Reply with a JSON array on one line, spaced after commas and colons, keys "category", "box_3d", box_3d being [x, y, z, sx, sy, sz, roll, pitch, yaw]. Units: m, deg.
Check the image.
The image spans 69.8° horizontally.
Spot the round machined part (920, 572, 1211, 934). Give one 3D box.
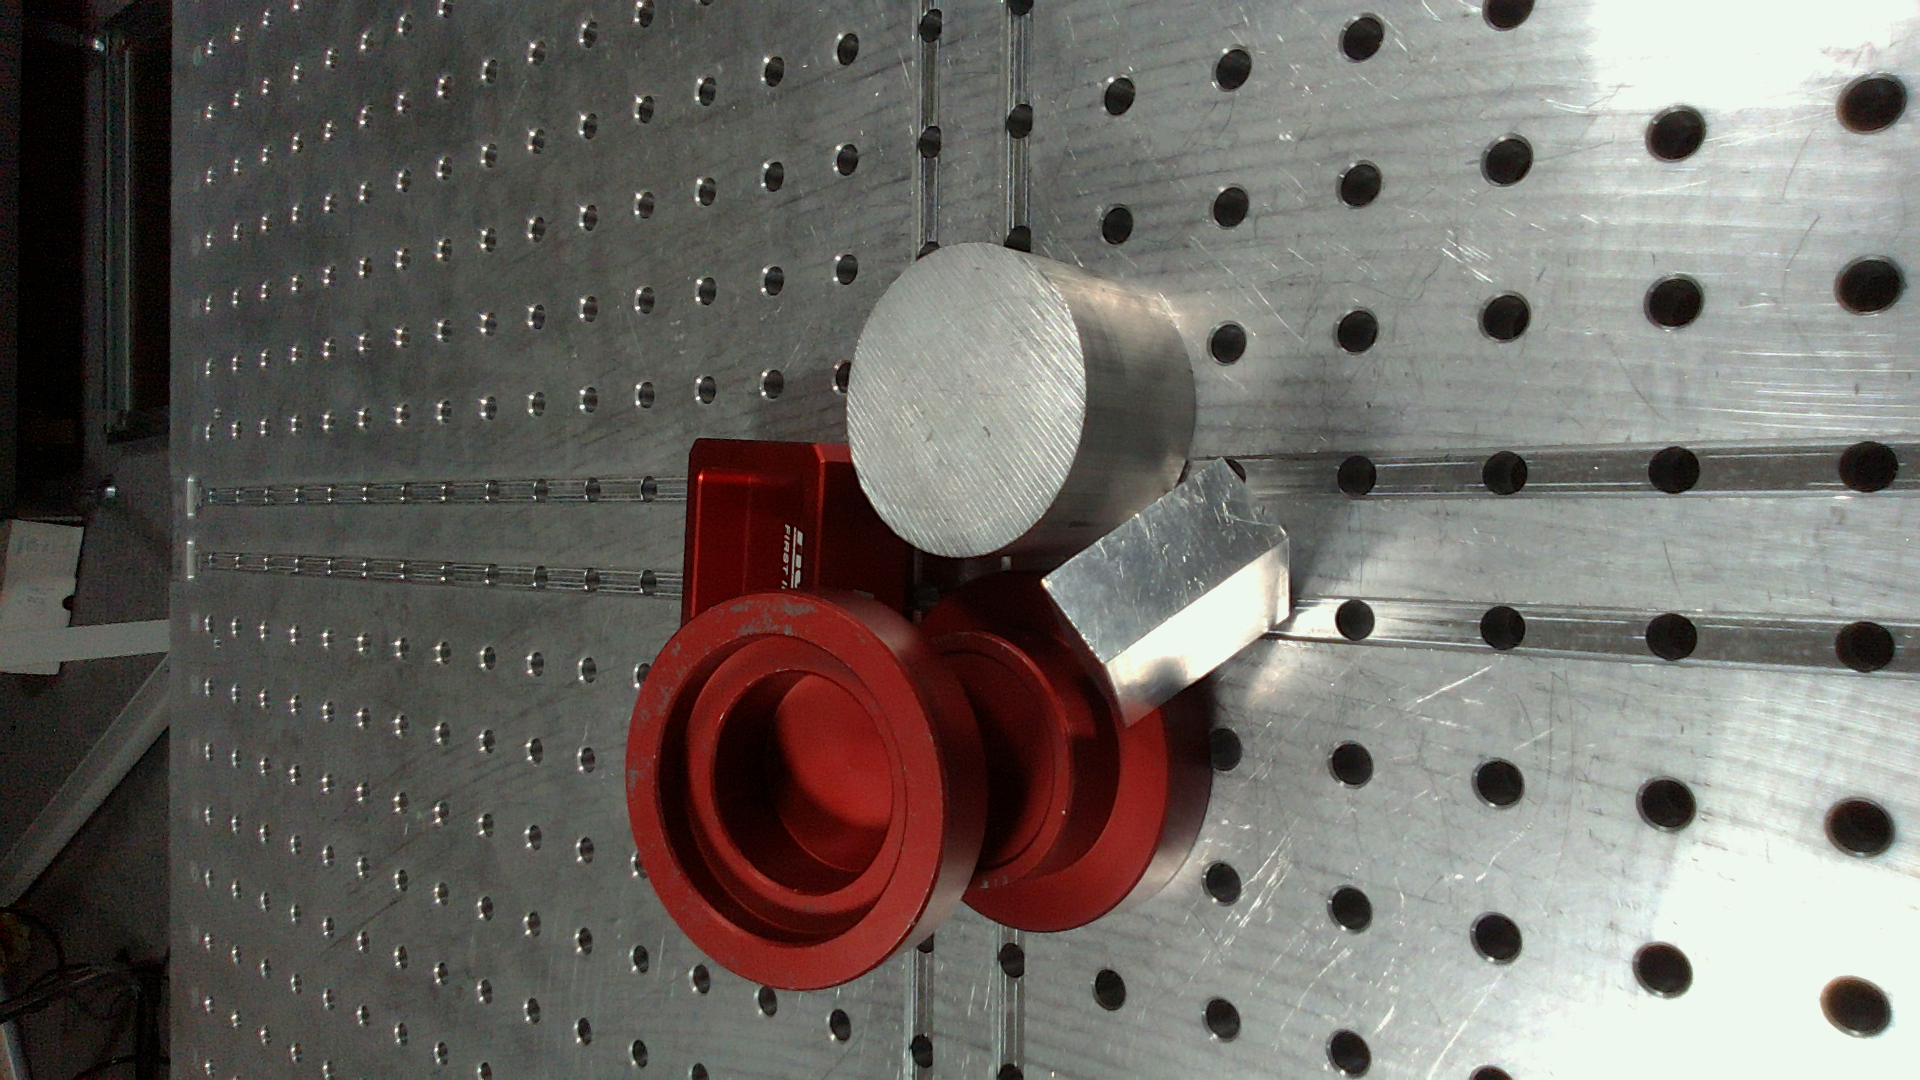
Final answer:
[{"category": "round machined part", "box_3d": [0.015, 0.057, 0.373, 0.098, 0.042, 0.098, 0, 90, 40]}]

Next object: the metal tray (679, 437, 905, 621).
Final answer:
[{"category": "metal tray", "box_3d": [-0.056, 0.035, 0.427, 0.090, 0.030, 0.130, 8, 95, 55]}]

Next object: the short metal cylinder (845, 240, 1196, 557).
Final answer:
[{"category": "short metal cylinder", "box_3d": [0.015, -0.036, 0.368, 0.080, 0.050, 0.080, 0, 90, 40]}]

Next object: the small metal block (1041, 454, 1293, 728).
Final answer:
[{"category": "small metal block", "box_3d": [0.051, 0.014, 0.326, 0.050, 0.050, 0.025, -34, 64, -3]}]

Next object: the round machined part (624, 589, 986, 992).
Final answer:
[{"category": "round machined part", "box_3d": [-0.036, 0.061, 0.354, 0.098, 0.042, 0.098, 1, 92, 30]}]
